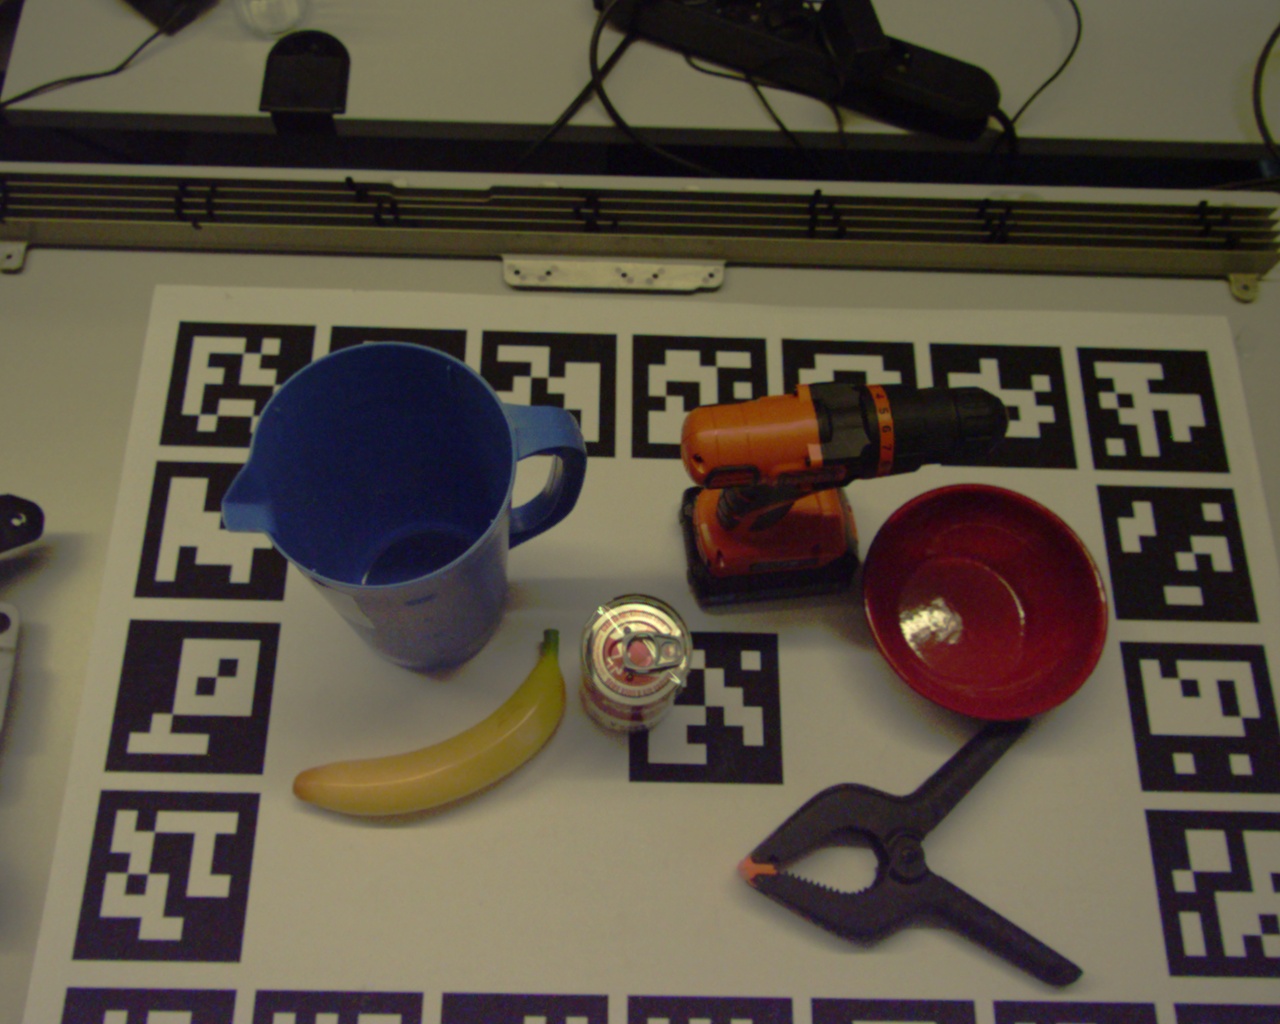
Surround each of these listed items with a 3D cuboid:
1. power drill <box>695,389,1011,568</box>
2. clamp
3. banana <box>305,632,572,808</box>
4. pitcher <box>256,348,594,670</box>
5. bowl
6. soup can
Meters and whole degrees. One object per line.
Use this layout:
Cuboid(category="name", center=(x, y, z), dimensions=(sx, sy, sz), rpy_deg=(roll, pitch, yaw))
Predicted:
Cuboid(category="power drill", center=(0.120, -0.020, 0.726), dimensions=(0.184, 0.187, 0.057), rpy_deg=(-5, 71, -5))
Cuboid(category="clamp", center=(0.169, 0.213, 0.735), dimensions=(0.202, 0.036, 0.166), rpy_deg=(-3, 74, -3))
Cuboid(category="banana", center=(-0.123, 0.151, 0.758), dimensions=(0.196, 0.039, 0.075), rpy_deg=(-24, 64, -12))
Cuboid(category="pitcher", center=(-0.117, 0.011, 0.699), dimensions=(0.188, 0.242, 0.134), rpy_deg=(-23, 70, -10))
Cuboid(category="bowl", center=(0.226, 0.062, 0.788), dimensions=(0.161, 0.055, 0.162), rpy_deg=(0, 72, -1))
Cuboid(category="soup can", center=(0.001, 0.093, 0.748), dimensions=(0.068, 0.102, 0.068), rpy_deg=(0, 62, -2))
